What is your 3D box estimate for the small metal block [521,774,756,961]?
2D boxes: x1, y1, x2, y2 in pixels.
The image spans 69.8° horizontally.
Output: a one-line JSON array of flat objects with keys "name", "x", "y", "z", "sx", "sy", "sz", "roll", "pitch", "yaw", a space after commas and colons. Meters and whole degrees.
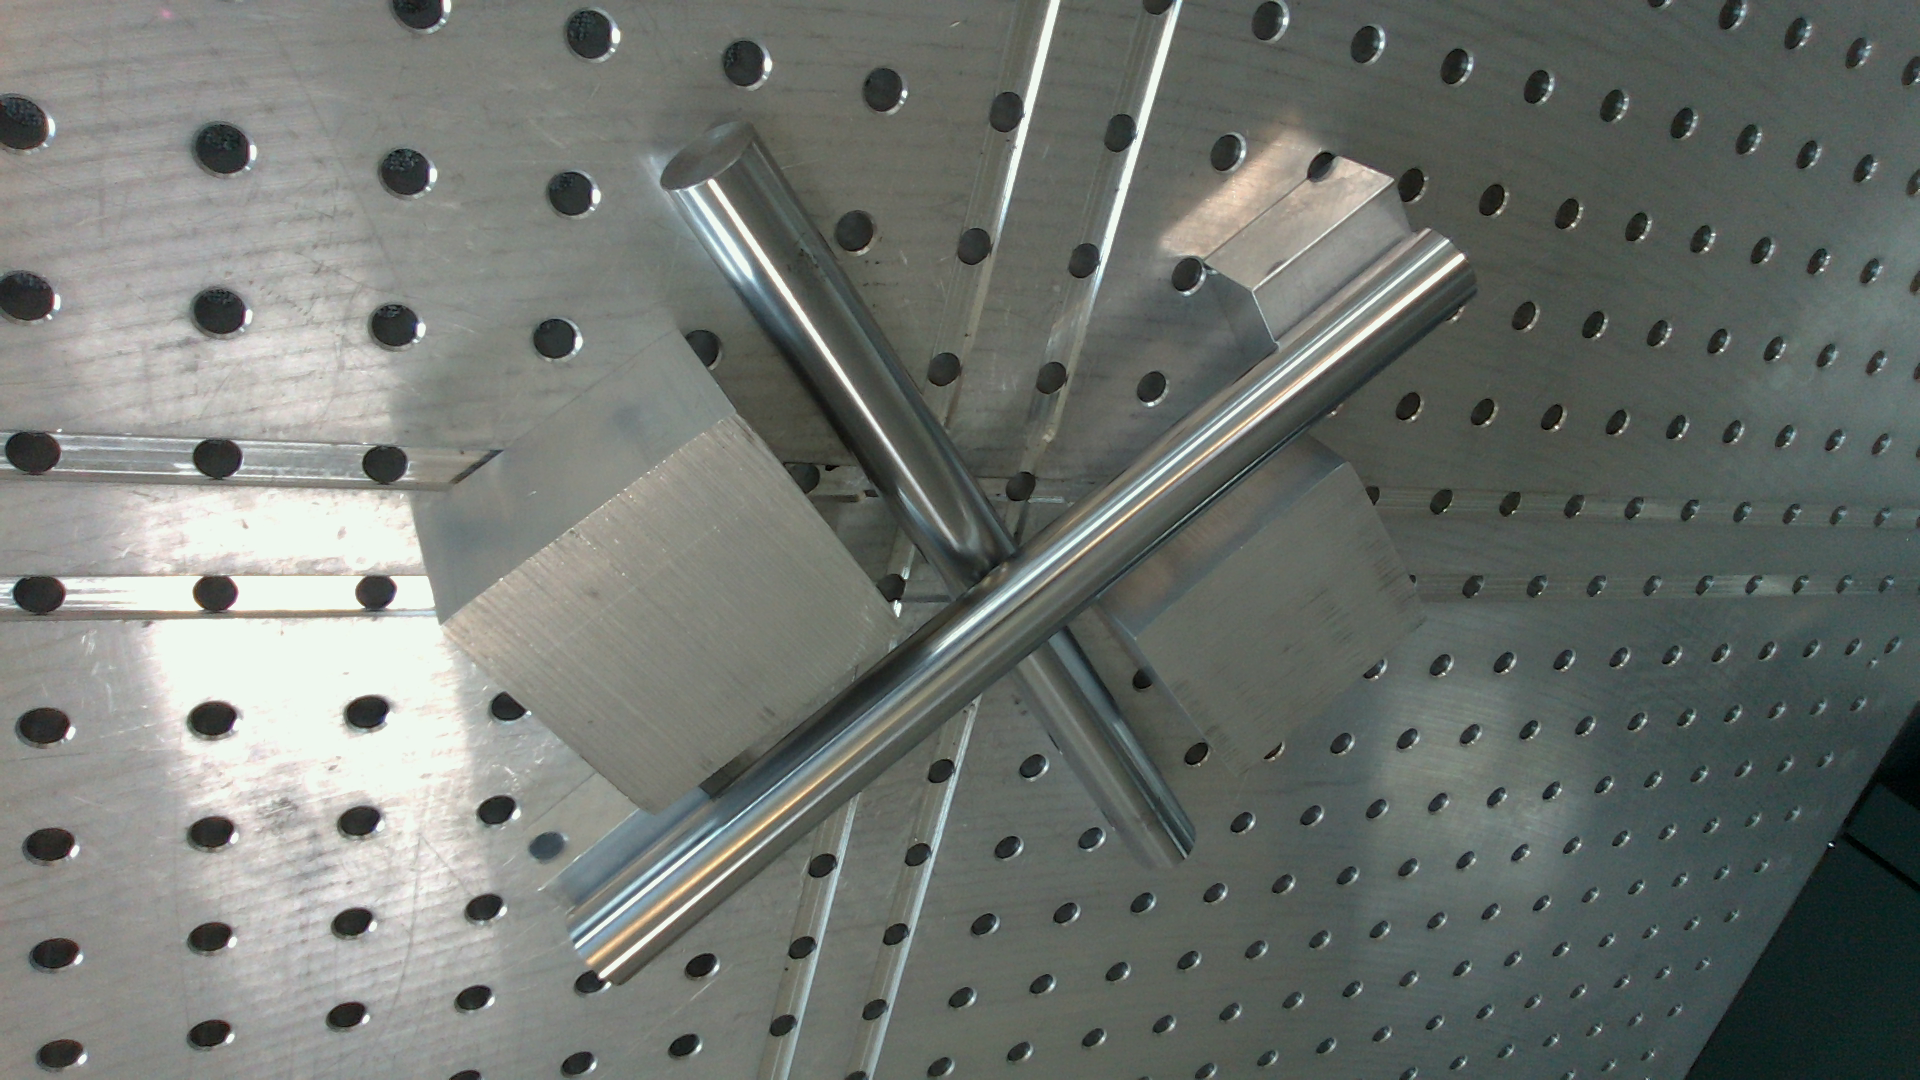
[{"name": "small metal block", "x": -0.088, "y": 0.088, "z": 0.398, "sx": 0.050, "sy": 0.025, "sz": 0.050, "roll": -39, "pitch": 129, "yaw": -2}]

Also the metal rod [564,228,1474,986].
[{"name": "metal rod", "x": 0.018, "y": 0.017, "z": 0.379, "sx": 0.300, "sy": 0.025, "sz": 0.025, "roll": -39, "pitch": 129, "yaw": -2}]

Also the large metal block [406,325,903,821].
[{"name": "large metal block", "x": -0.074, "y": 0.009, "z": 0.341, "sx": 0.080, "sy": 0.050, "sz": 0.080, "roll": -37, "pitch": 129, "yaw": -3}]

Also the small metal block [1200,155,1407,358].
[{"name": "small metal block", "x": 0.105, "y": -0.075, "z": 0.404, "sx": 0.050, "sy": 0.025, "sz": 0.050, "roll": -38, "pitch": 129, "yaw": -3}]

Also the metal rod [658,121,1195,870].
[{"name": "metal rod", "x": 0.008, "y": 0.011, "z": 0.402, "sx": 0.025, "sy": 0.025, "sz": 0.301, "roll": -37, "pitch": 129, "yaw": -4}]

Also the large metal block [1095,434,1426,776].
[{"name": "large metal block", "x": 0.088, "y": 0.014, "z": 0.432, "sx": 0.080, "sy": 0.050, "sz": 0.080, "roll": -40, "pitch": 129, "yaw": -1}]
